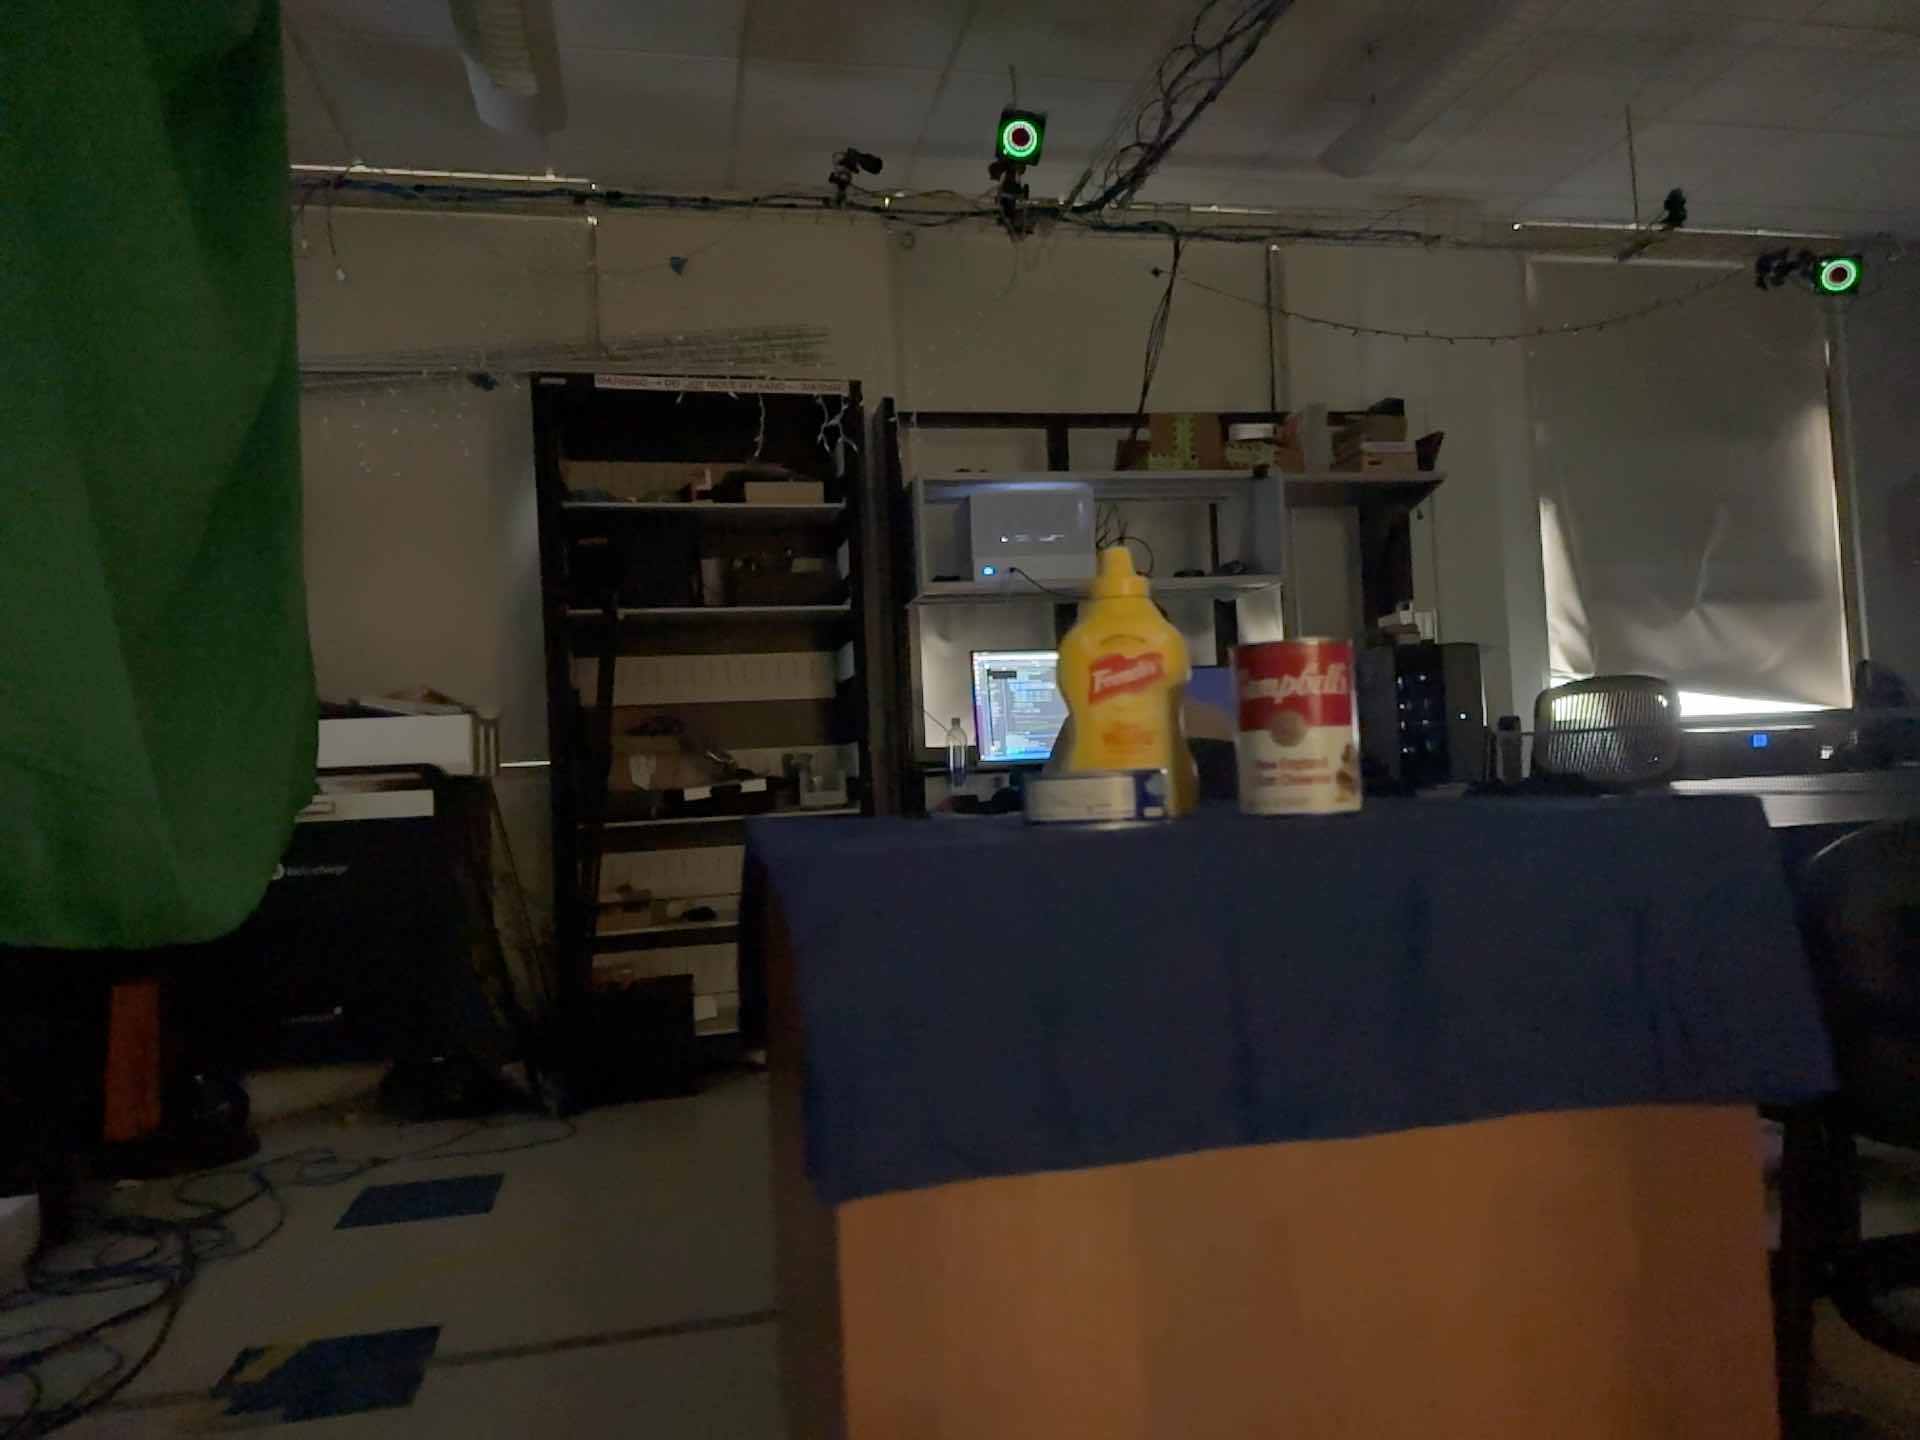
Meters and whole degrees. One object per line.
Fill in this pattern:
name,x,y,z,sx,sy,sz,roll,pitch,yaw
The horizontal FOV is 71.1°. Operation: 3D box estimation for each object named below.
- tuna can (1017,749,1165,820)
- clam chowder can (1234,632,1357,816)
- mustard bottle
tuna can,0.074,0.036,0.770,0.083,0.034,0.083,-2,1,0
clam chowder can,0.193,0.002,0.775,0.068,0.102,0.068,-2,1,0
mustard bottle,0.106,-0.021,0.859,0.092,0.184,0.054,-2,2,3
